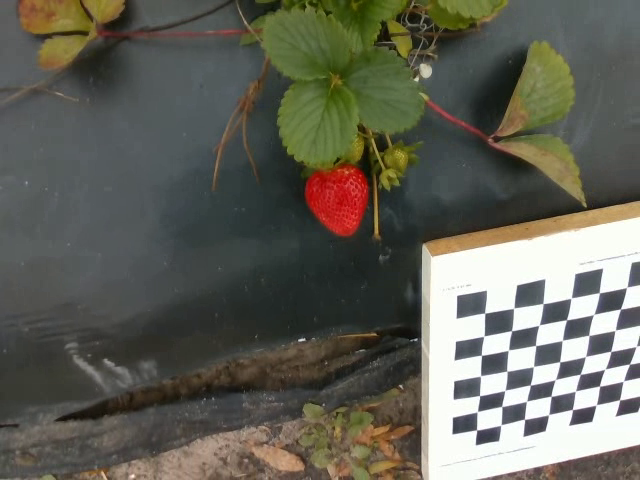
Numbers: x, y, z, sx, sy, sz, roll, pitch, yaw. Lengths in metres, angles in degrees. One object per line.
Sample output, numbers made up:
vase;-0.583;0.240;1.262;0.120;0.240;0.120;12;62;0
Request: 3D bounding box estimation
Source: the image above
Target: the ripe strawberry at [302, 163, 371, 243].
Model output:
ripe strawberry;0.004;-0.007;0.114;0.018;0.017;0.014;-11;-10;-16
